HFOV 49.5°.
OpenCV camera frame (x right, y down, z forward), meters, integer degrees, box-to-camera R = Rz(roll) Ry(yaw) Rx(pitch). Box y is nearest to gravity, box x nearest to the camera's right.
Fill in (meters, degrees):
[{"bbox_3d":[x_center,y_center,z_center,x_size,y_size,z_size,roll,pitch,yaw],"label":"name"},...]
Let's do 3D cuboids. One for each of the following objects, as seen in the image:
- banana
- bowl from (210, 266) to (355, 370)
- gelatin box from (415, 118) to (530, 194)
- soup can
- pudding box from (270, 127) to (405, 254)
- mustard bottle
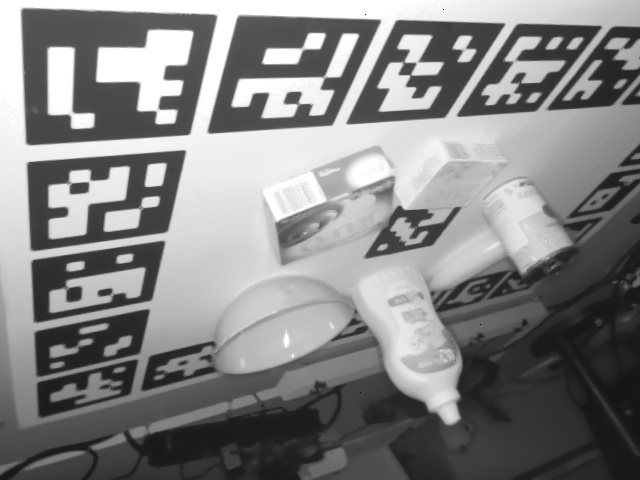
[{"bbox_3d":[0.239,0.024,0.883,0.196,0.039,0.075,-32,159,11],"label":"banana"},{"bbox_3d":[-0.047,0.076,0.741,0.163,0.055,0.160,-20,151,-11],"label":"bowl"},{"bbox_3d":[0.146,-0.077,0.662,0.091,0.030,0.072,-2,140,-35],"label":"gelatin box"},{"bbox_3d":[0.252,-0.007,0.762,0.068,0.102,0.067,-17,150,-9],"label":"soup can"},{"bbox_3d":[0.018,-0.043,0.612,0.114,0.038,0.089,-20,144,-9],"label":"pudding box"},{"bbox_3d":[0.127,0.133,0.796,0.098,0.191,0.057,-6,148,-29],"label":"mustard bottle"}]
